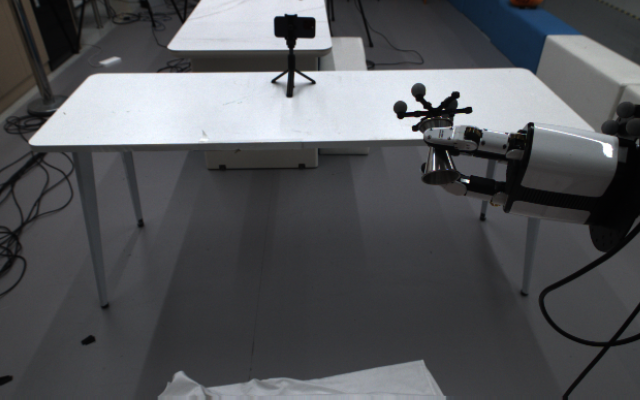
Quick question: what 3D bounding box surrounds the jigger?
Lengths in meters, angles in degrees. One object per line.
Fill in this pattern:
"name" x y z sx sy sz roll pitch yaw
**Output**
"jigger" 0.137 -0.059 0.562 0.043 0.043 0.071 1 70 -2
